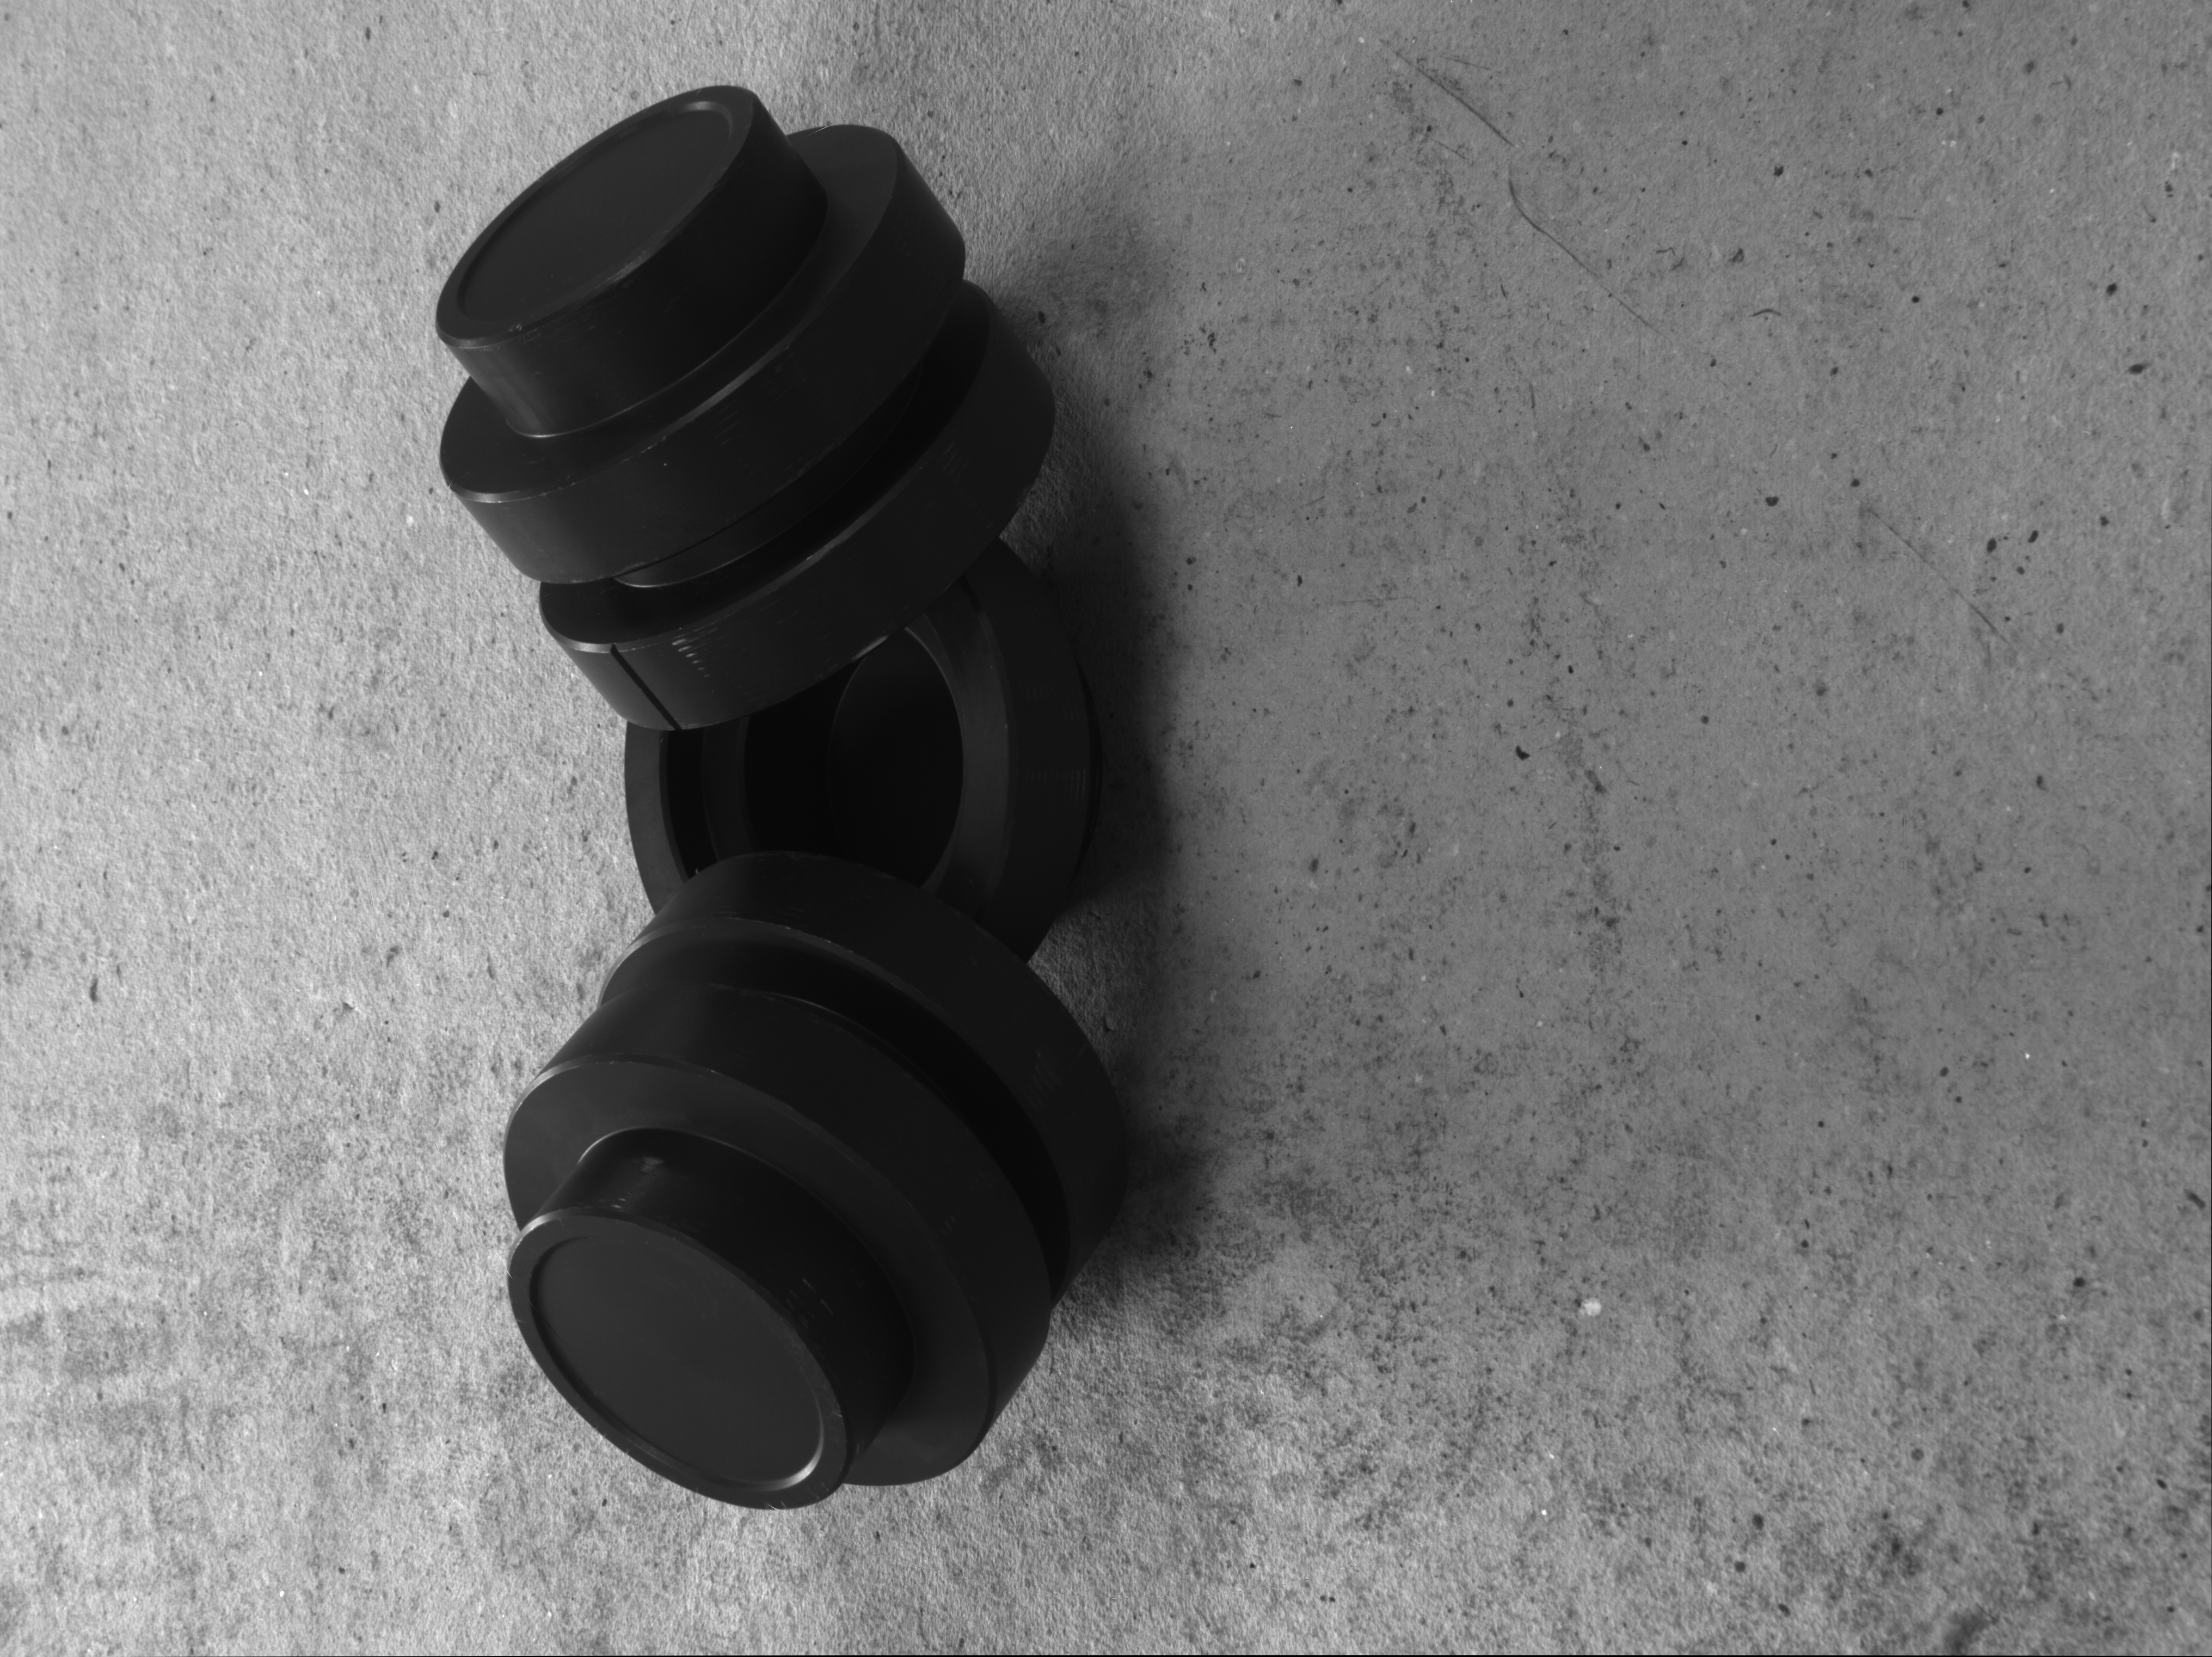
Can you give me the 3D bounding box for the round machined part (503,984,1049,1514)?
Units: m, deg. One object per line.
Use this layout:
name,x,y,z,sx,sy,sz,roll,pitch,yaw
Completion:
round machined part,-0.062,0.077,0.623,0.098,0.042,0.098,19,134,21

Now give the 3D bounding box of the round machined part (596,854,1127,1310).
round machined part,-0.049,0.056,0.643,0.098,0.042,0.098,19,135,20

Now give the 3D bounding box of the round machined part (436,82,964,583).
round machined part,-0.076,-0.091,0.636,0.098,0.042,0.098,-26,33,19

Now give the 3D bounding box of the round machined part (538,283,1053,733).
round machined part,-0.061,-0.066,0.650,0.098,0.042,0.098,-26,33,18

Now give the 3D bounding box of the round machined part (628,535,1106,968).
round machined part,-0.039,-0.011,0.668,0.098,0.042,0.098,0,90,40
